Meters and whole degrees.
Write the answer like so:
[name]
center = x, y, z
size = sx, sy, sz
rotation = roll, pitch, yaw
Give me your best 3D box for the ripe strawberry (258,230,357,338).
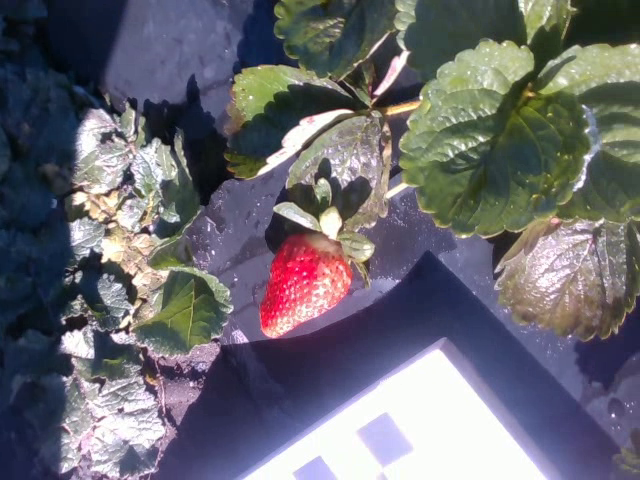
[ripe strawberry]
center = -0.010, 0.025, 0.306
size = 0.048, 0.069, 0.040
rotation = 36, 15, 14
